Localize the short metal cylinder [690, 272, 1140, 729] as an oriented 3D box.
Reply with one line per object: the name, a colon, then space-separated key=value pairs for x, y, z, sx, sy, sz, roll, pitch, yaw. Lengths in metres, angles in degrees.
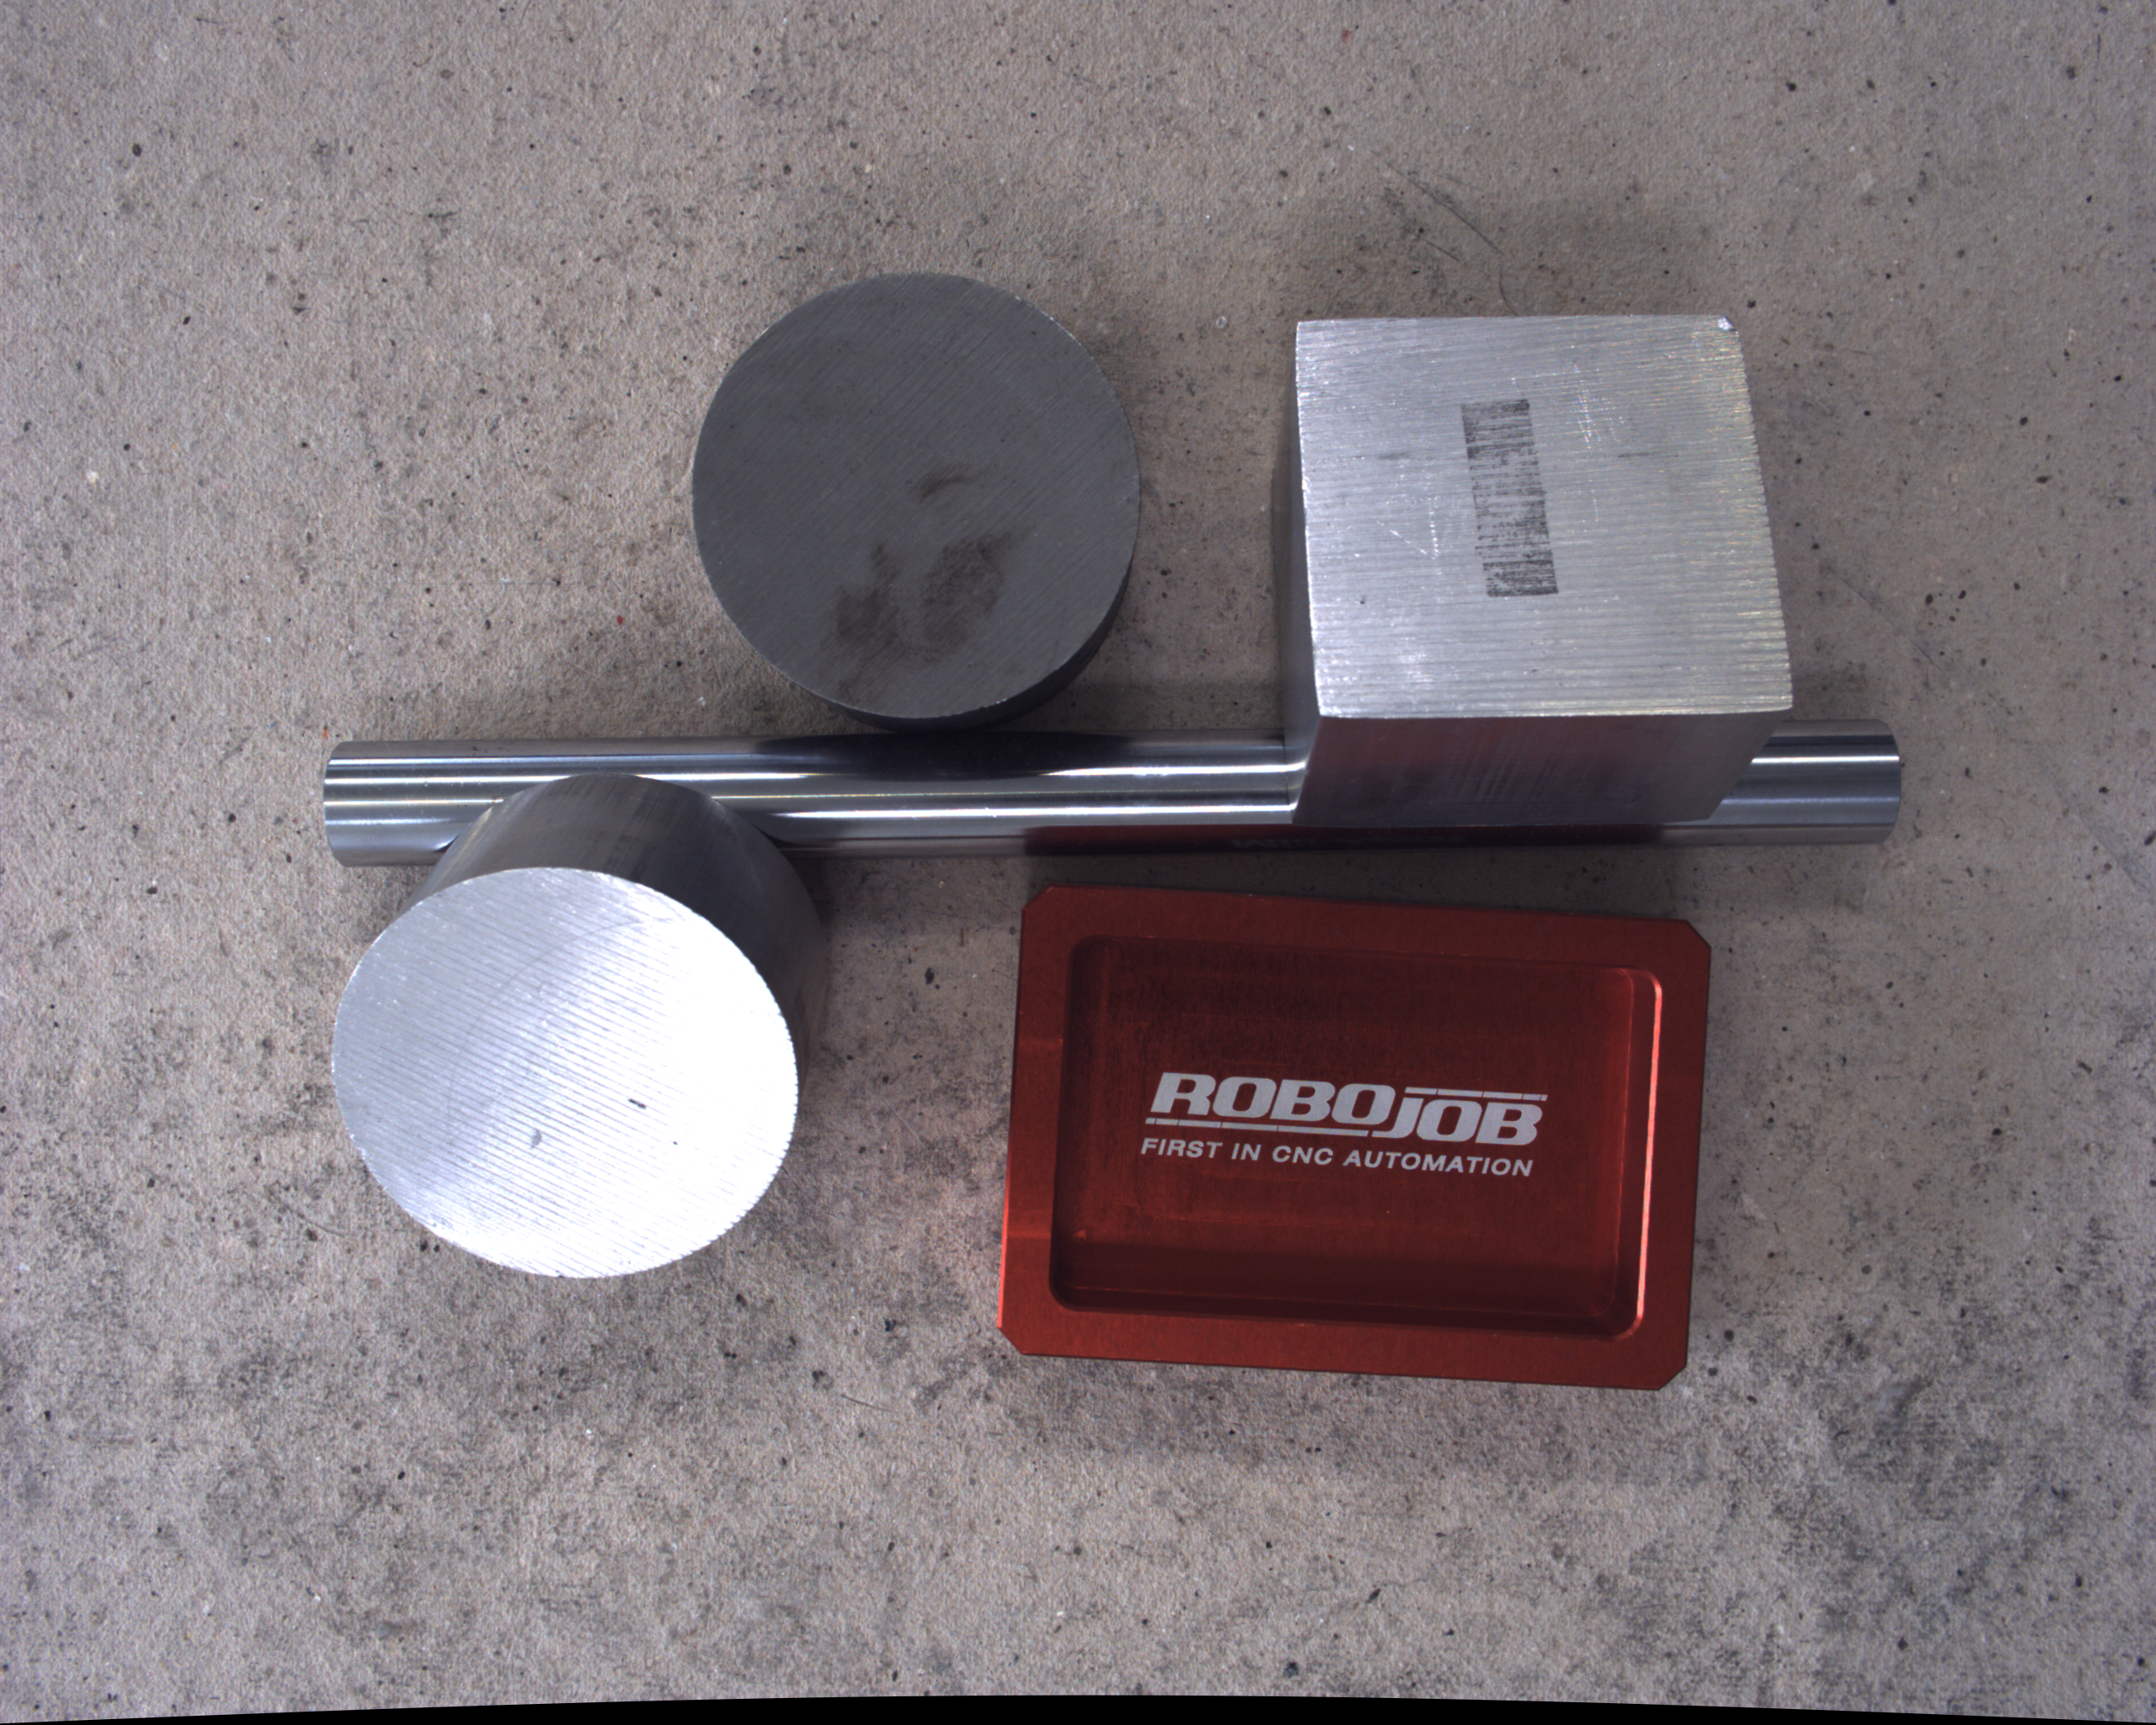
short metal cylinder: x=-0.029 y=-0.066 z=0.398 sx=0.081 sy=0.050 sz=0.080 roll=0 pitch=90 yaw=0

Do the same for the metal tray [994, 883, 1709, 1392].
metal tray: x=0.052 y=0.052 z=0.408 sx=0.131 sy=0.030 sz=0.089 roll=3 pitch=90 yaw=0

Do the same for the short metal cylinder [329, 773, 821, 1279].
short metal cylinder: x=-0.089 y=0.029 z=0.386 sx=0.081 sy=0.050 sz=0.079 roll=0 pitch=111 yaw=-1

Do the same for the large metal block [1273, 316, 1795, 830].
large metal block: x=0.080 y=-0.053 z=0.387 sx=0.081 sy=0.050 sz=0.080 roll=-1 pitch=69 yaw=0

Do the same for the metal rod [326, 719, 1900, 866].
metal rod: x=0.007 y=-0.014 z=0.412 sx=0.302 sy=0.025 sz=0.025 roll=-1 pitch=90 yaw=0
